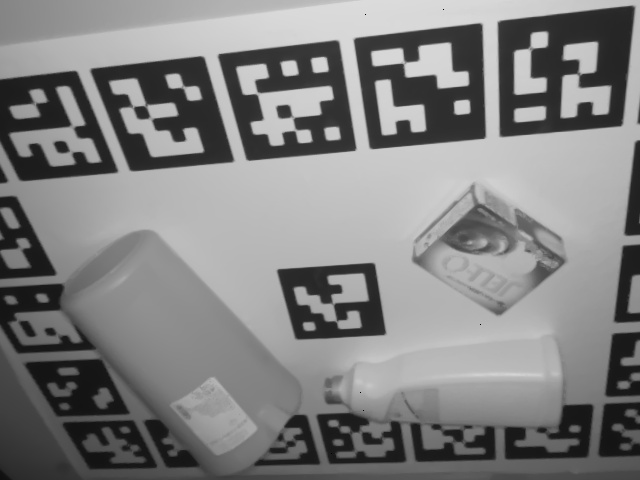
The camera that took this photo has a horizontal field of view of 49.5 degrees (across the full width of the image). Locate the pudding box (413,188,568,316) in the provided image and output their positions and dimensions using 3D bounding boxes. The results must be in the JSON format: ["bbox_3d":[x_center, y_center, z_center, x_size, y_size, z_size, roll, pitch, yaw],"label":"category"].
[{"bbox_3d":[0.159,0.015,0.652,0.114,0.039,0.088,34,127,-15],"label":"pudding box"}]

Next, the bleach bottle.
[{"bbox_3d":[0.128,0.165,0.750,0.249,0.068,0.102,-6,119,12],"label":"bleach bottle"}]

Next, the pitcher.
[{"bbox_3d":[-0.146,0.108,0.717,0.186,0.135,0.243,-5,127,52],"label":"pitcher"}]
